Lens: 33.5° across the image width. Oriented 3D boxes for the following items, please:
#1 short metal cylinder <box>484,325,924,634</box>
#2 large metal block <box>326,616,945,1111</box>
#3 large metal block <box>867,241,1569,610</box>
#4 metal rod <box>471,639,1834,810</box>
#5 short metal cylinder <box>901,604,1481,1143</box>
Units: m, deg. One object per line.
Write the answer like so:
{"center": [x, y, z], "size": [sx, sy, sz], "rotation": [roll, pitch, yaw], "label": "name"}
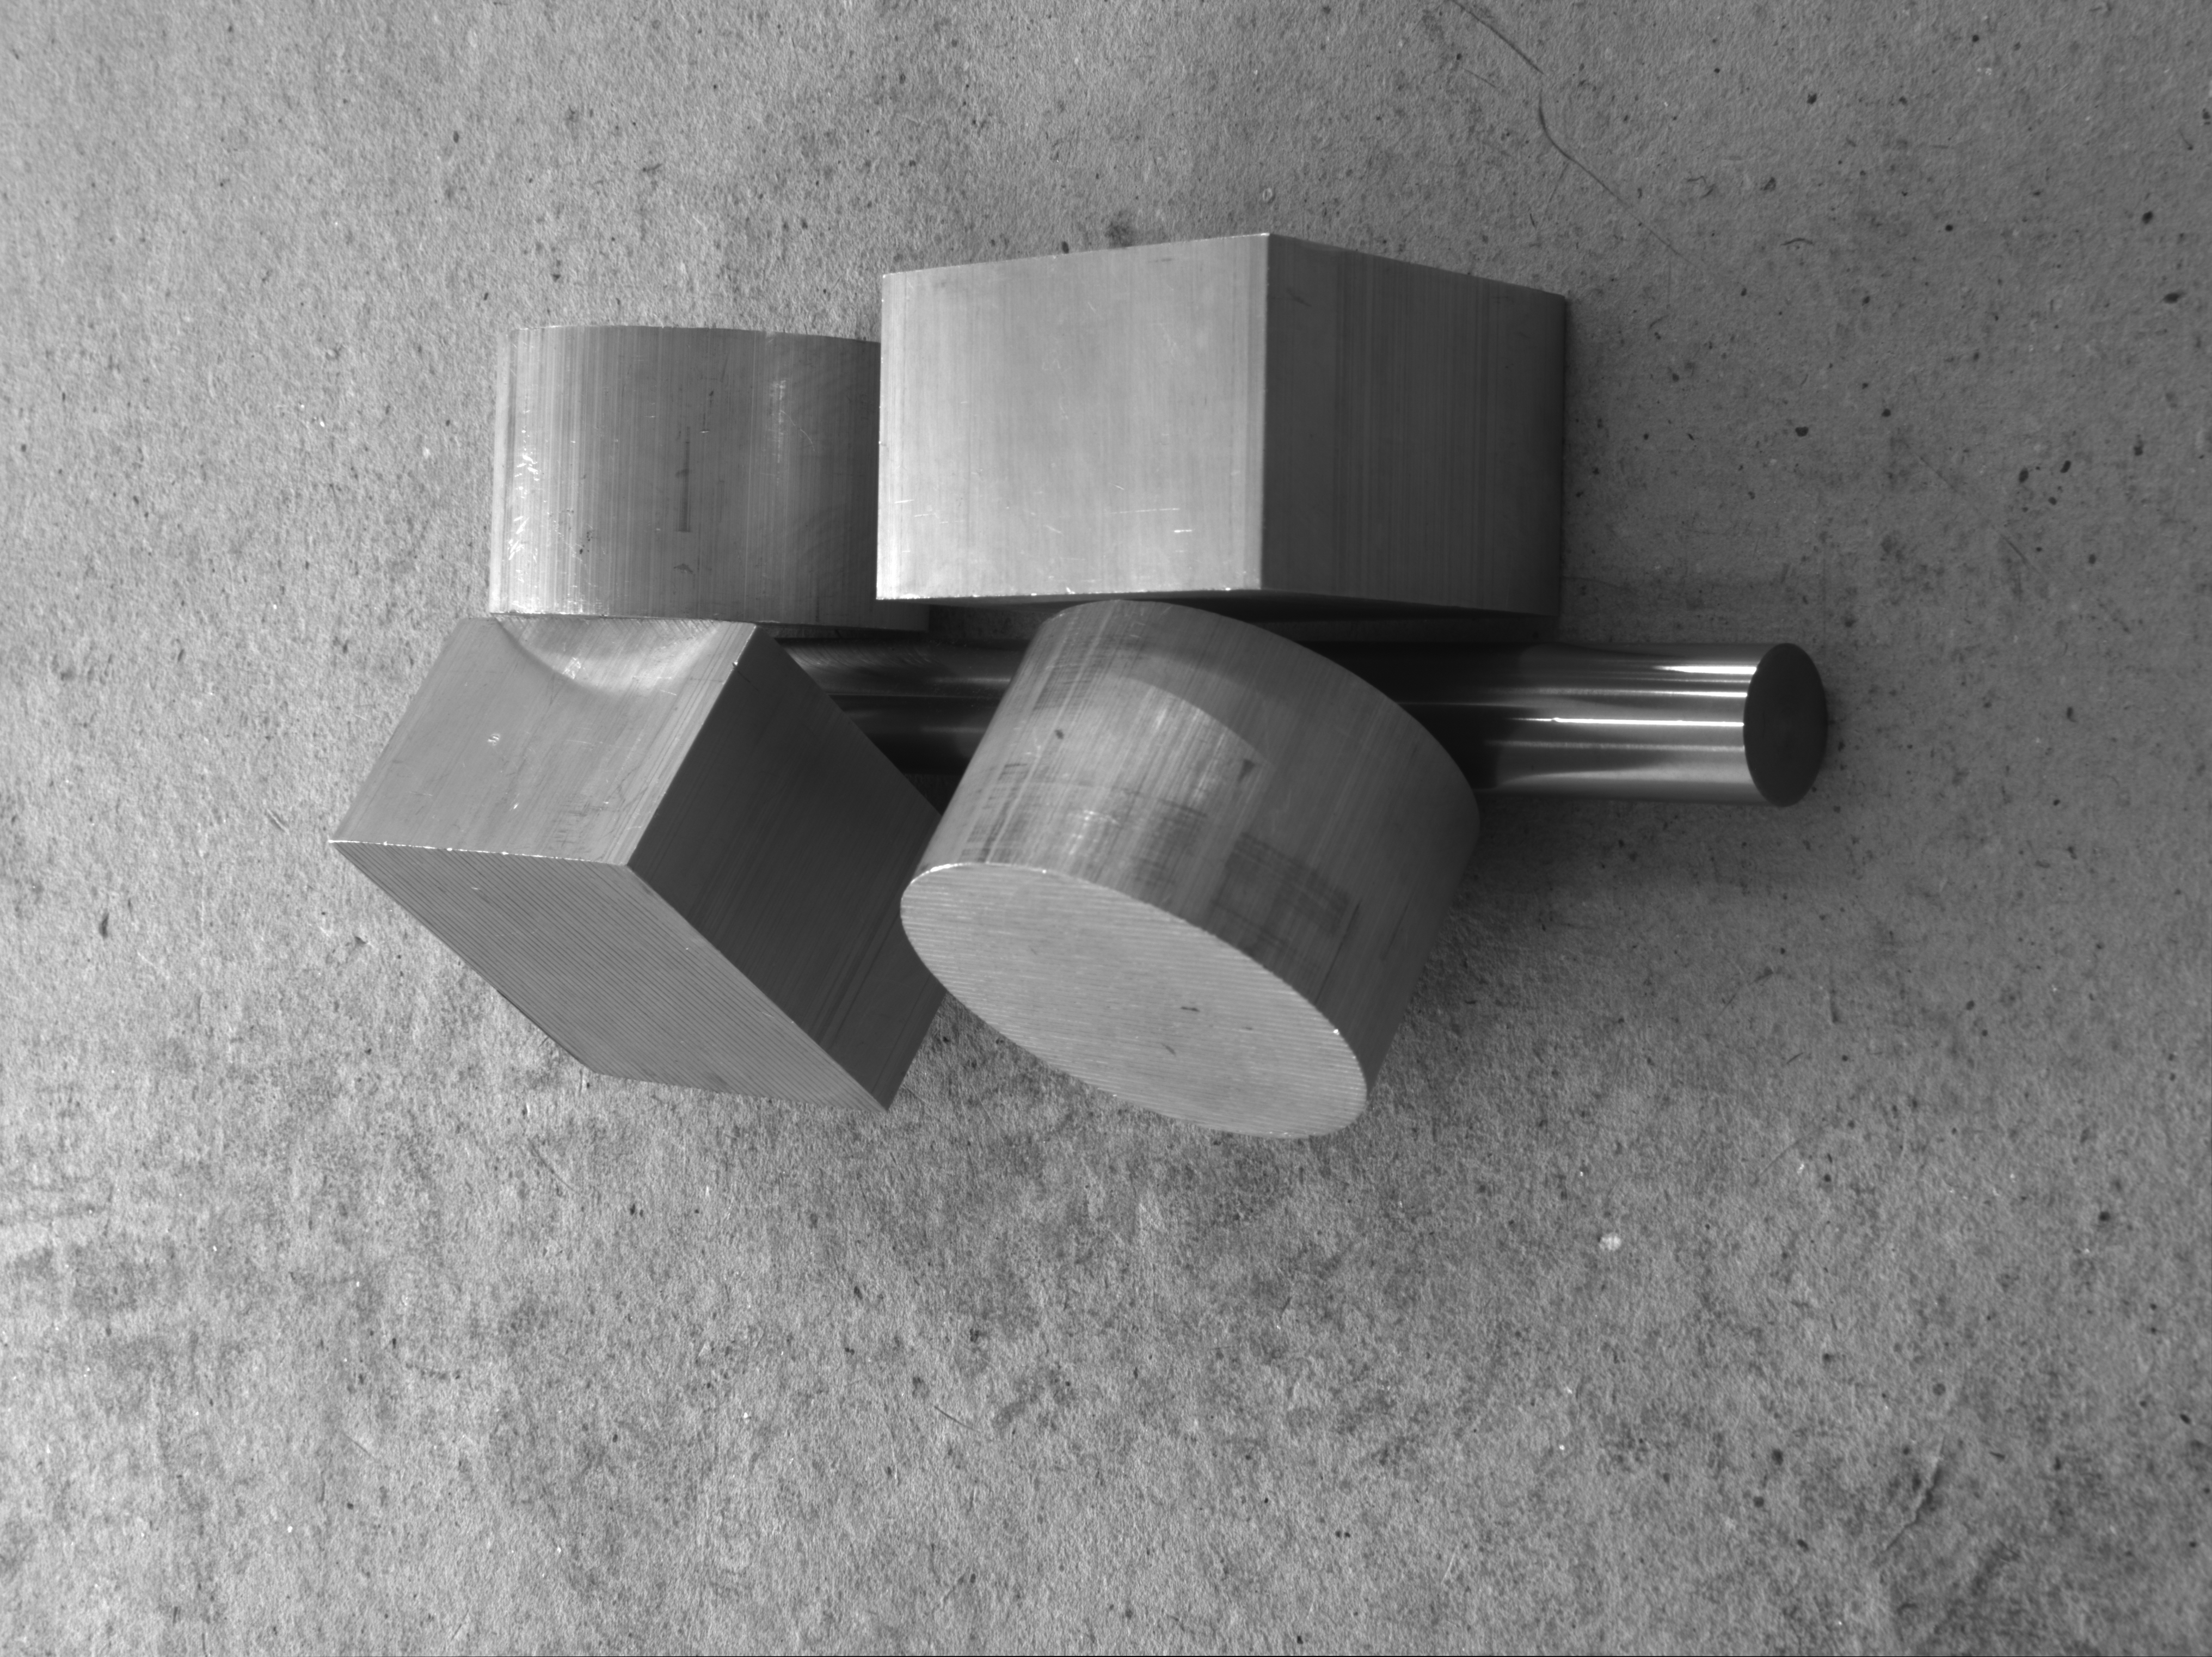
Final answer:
{"center": [-0.072, -0.062, 0.670], "size": [0.080, 0.080, 0.050], "rotation": [4, 93, 40], "label": "short metal cylinder"}
{"center": [-0.079, 0.006, 0.668], "size": [0.080, 0.080, 0.050], "rotation": [3, 58, 40], "label": "large metal block"}
{"center": [0.019, -0.062, 0.594], "size": [0.080, 0.080, 0.050], "rotation": [2, 91, 40], "label": "large metal block"}
{"center": [-0.009, -0.021, 0.656], "size": [0.299, 0.025, 0.025], "rotation": [3, 92, 40], "label": "metal rod"}
{"center": [0.014, 0.008, 0.590], "size": [0.080, 0.080, 0.050], "rotation": [2, 56, 40], "label": "short metal cylinder"}
